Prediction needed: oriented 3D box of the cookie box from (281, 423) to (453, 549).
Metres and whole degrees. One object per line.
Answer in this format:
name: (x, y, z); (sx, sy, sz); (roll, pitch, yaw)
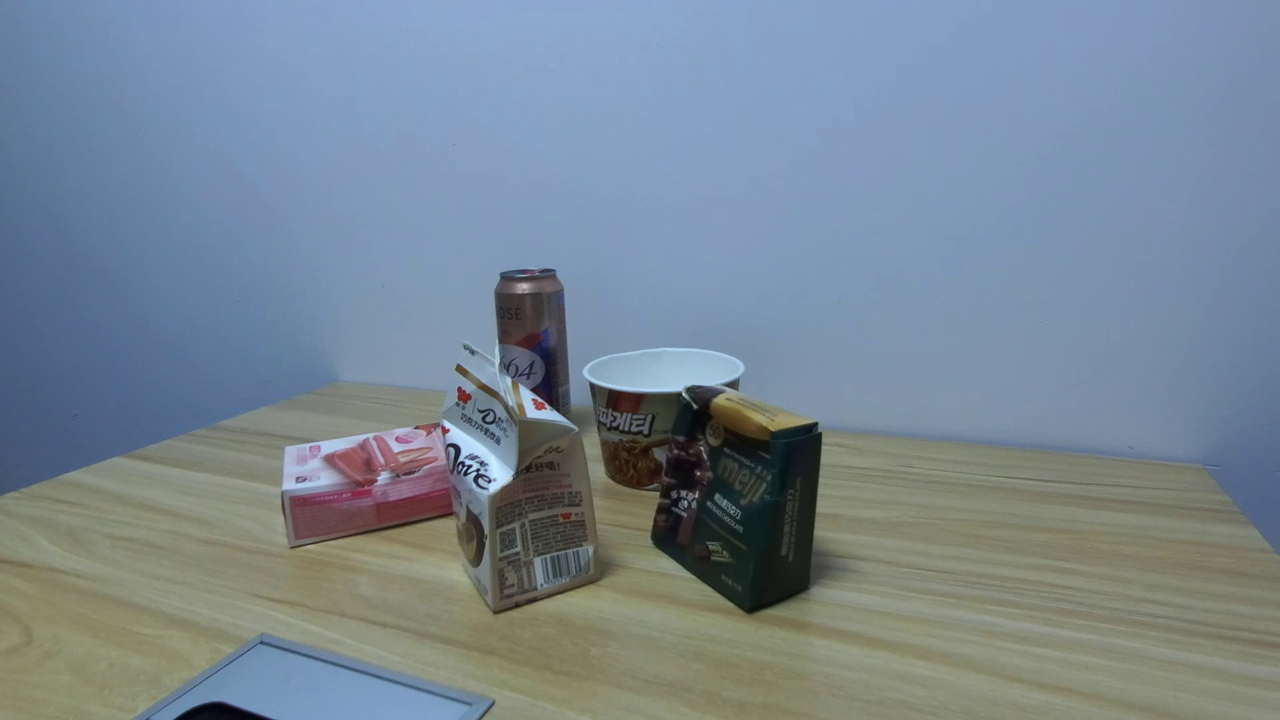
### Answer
cookie box: (-0.191, 0.094, 0.579); (0.188, 0.049, 0.104); (-8, 15, -23)

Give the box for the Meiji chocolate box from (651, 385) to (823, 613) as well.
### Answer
Meiji chocolate box: (0.061, 0.081, 0.453); (0.052, 0.117, 0.117); (-2, 12, -32)

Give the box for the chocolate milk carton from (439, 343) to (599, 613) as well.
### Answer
chocolate milk carton: (-0.078, 0.066, 0.448); (0.074, 0.155, 0.076); (-12, 18, -27)

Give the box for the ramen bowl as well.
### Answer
ramen bowl: (0.021, 0.051, 0.618); (0.140, 0.095, 0.140); (-1, 14, 1)

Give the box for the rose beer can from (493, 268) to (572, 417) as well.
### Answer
rose beer can: (-0.104, -0.001, 0.694); (0.068, 0.169, 0.068); (-2, 12, 1)
